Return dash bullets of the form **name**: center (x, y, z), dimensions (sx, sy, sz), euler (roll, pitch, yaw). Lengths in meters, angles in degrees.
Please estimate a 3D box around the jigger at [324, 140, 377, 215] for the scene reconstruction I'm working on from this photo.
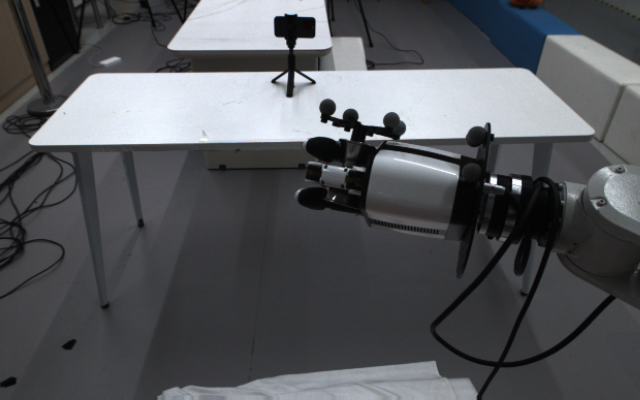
- **jigger**: center (0.035, -0.028, 0.523), dimensions (0.043, 0.071, 0.043), euler (14, 1, 0)
